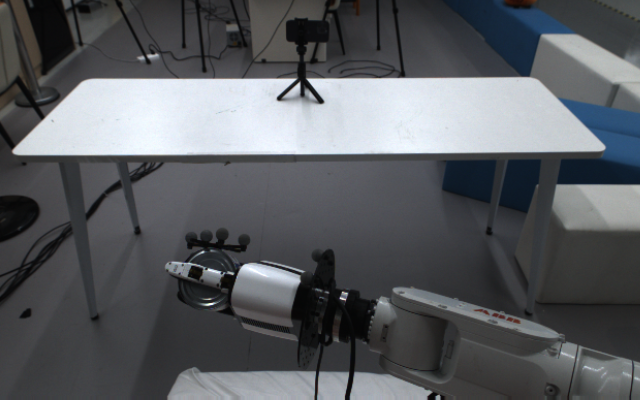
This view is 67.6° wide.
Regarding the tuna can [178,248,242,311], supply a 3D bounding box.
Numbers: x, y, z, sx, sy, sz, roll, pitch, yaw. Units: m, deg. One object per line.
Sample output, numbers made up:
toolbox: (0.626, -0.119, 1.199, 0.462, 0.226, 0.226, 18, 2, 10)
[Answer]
tuna can: (-0.148, 0.113, 0.672, 0.085, 0.034, 0.085, -3, 73, 9)
